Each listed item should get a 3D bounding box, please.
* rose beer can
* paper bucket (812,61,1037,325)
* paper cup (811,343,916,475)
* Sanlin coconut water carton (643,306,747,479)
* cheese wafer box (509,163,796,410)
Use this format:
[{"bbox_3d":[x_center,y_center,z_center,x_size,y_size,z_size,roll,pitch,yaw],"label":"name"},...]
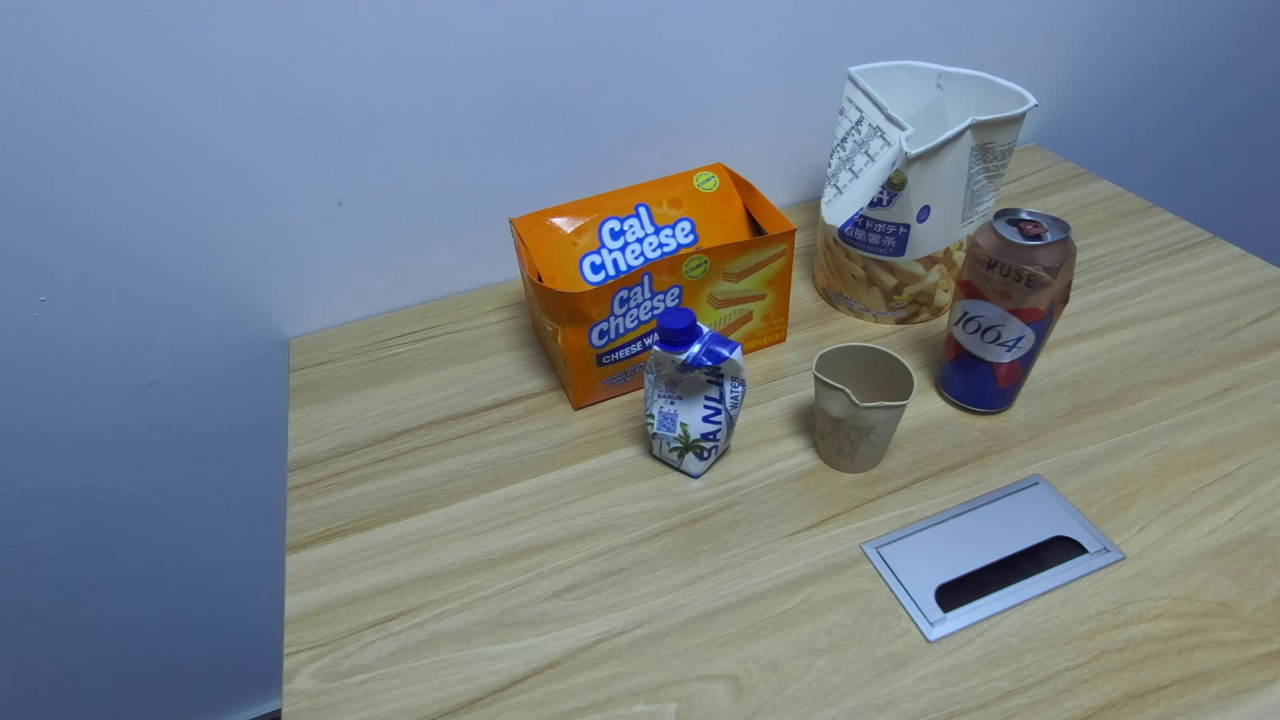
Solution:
[{"bbox_3d":[0.292,-0.036,0.568,0.065,0.167,0.075,-22,40,-23],"label":"rose beer can"},{"bbox_3d":[0.246,-0.160,0.686,0.169,0.202,0.162,-23,43,-22],"label":"paper bucket"},{"bbox_3d":[0.168,0.040,0.550,0.073,0.081,0.068,-5,41,-2],"label":"paper cup"},{"bbox_3d":[0.039,0.029,0.532,0.068,0.145,0.057,30,59,24],"label":"Sanlin coconut water carton"},{"bbox_3d":[0.009,-0.071,0.661,0.231,0.132,0.151,-17,44,-14],"label":"cheese wafer box"}]
